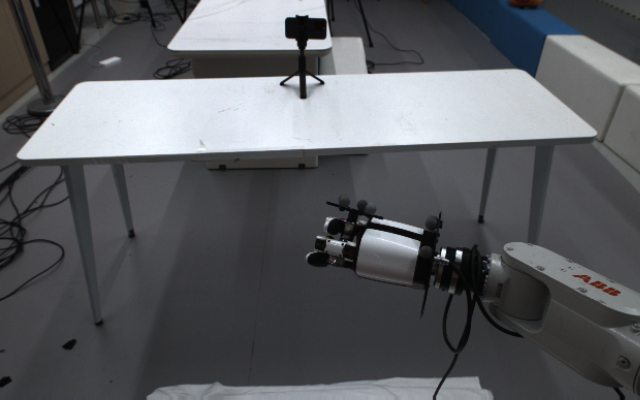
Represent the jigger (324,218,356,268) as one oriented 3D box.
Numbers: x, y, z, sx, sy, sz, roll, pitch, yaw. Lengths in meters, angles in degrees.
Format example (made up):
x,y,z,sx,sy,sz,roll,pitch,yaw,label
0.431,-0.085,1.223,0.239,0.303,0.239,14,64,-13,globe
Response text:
x,y,z,sx,sy,sz,roll,pitch,yaw,label
0.040,0.065,0.735,0.043,0.071,0.043,17,2,-1,jigger
